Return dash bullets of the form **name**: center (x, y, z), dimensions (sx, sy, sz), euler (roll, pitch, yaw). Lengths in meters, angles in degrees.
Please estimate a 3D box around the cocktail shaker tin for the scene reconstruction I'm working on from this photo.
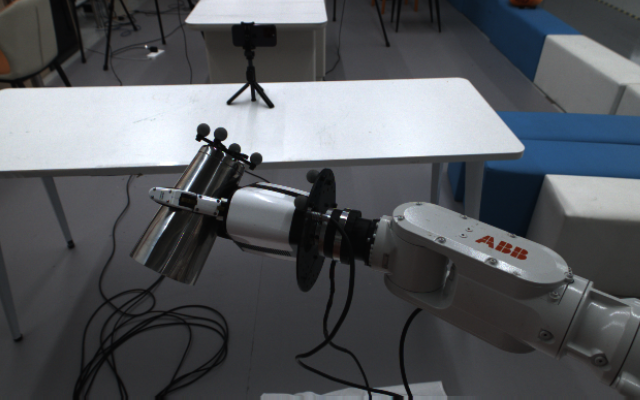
- **cocktail shaker tin**: center (-0.167, 0.015, 0.643), dimensions (0.093, 0.093, 0.170), euler (21, 81, 26)
